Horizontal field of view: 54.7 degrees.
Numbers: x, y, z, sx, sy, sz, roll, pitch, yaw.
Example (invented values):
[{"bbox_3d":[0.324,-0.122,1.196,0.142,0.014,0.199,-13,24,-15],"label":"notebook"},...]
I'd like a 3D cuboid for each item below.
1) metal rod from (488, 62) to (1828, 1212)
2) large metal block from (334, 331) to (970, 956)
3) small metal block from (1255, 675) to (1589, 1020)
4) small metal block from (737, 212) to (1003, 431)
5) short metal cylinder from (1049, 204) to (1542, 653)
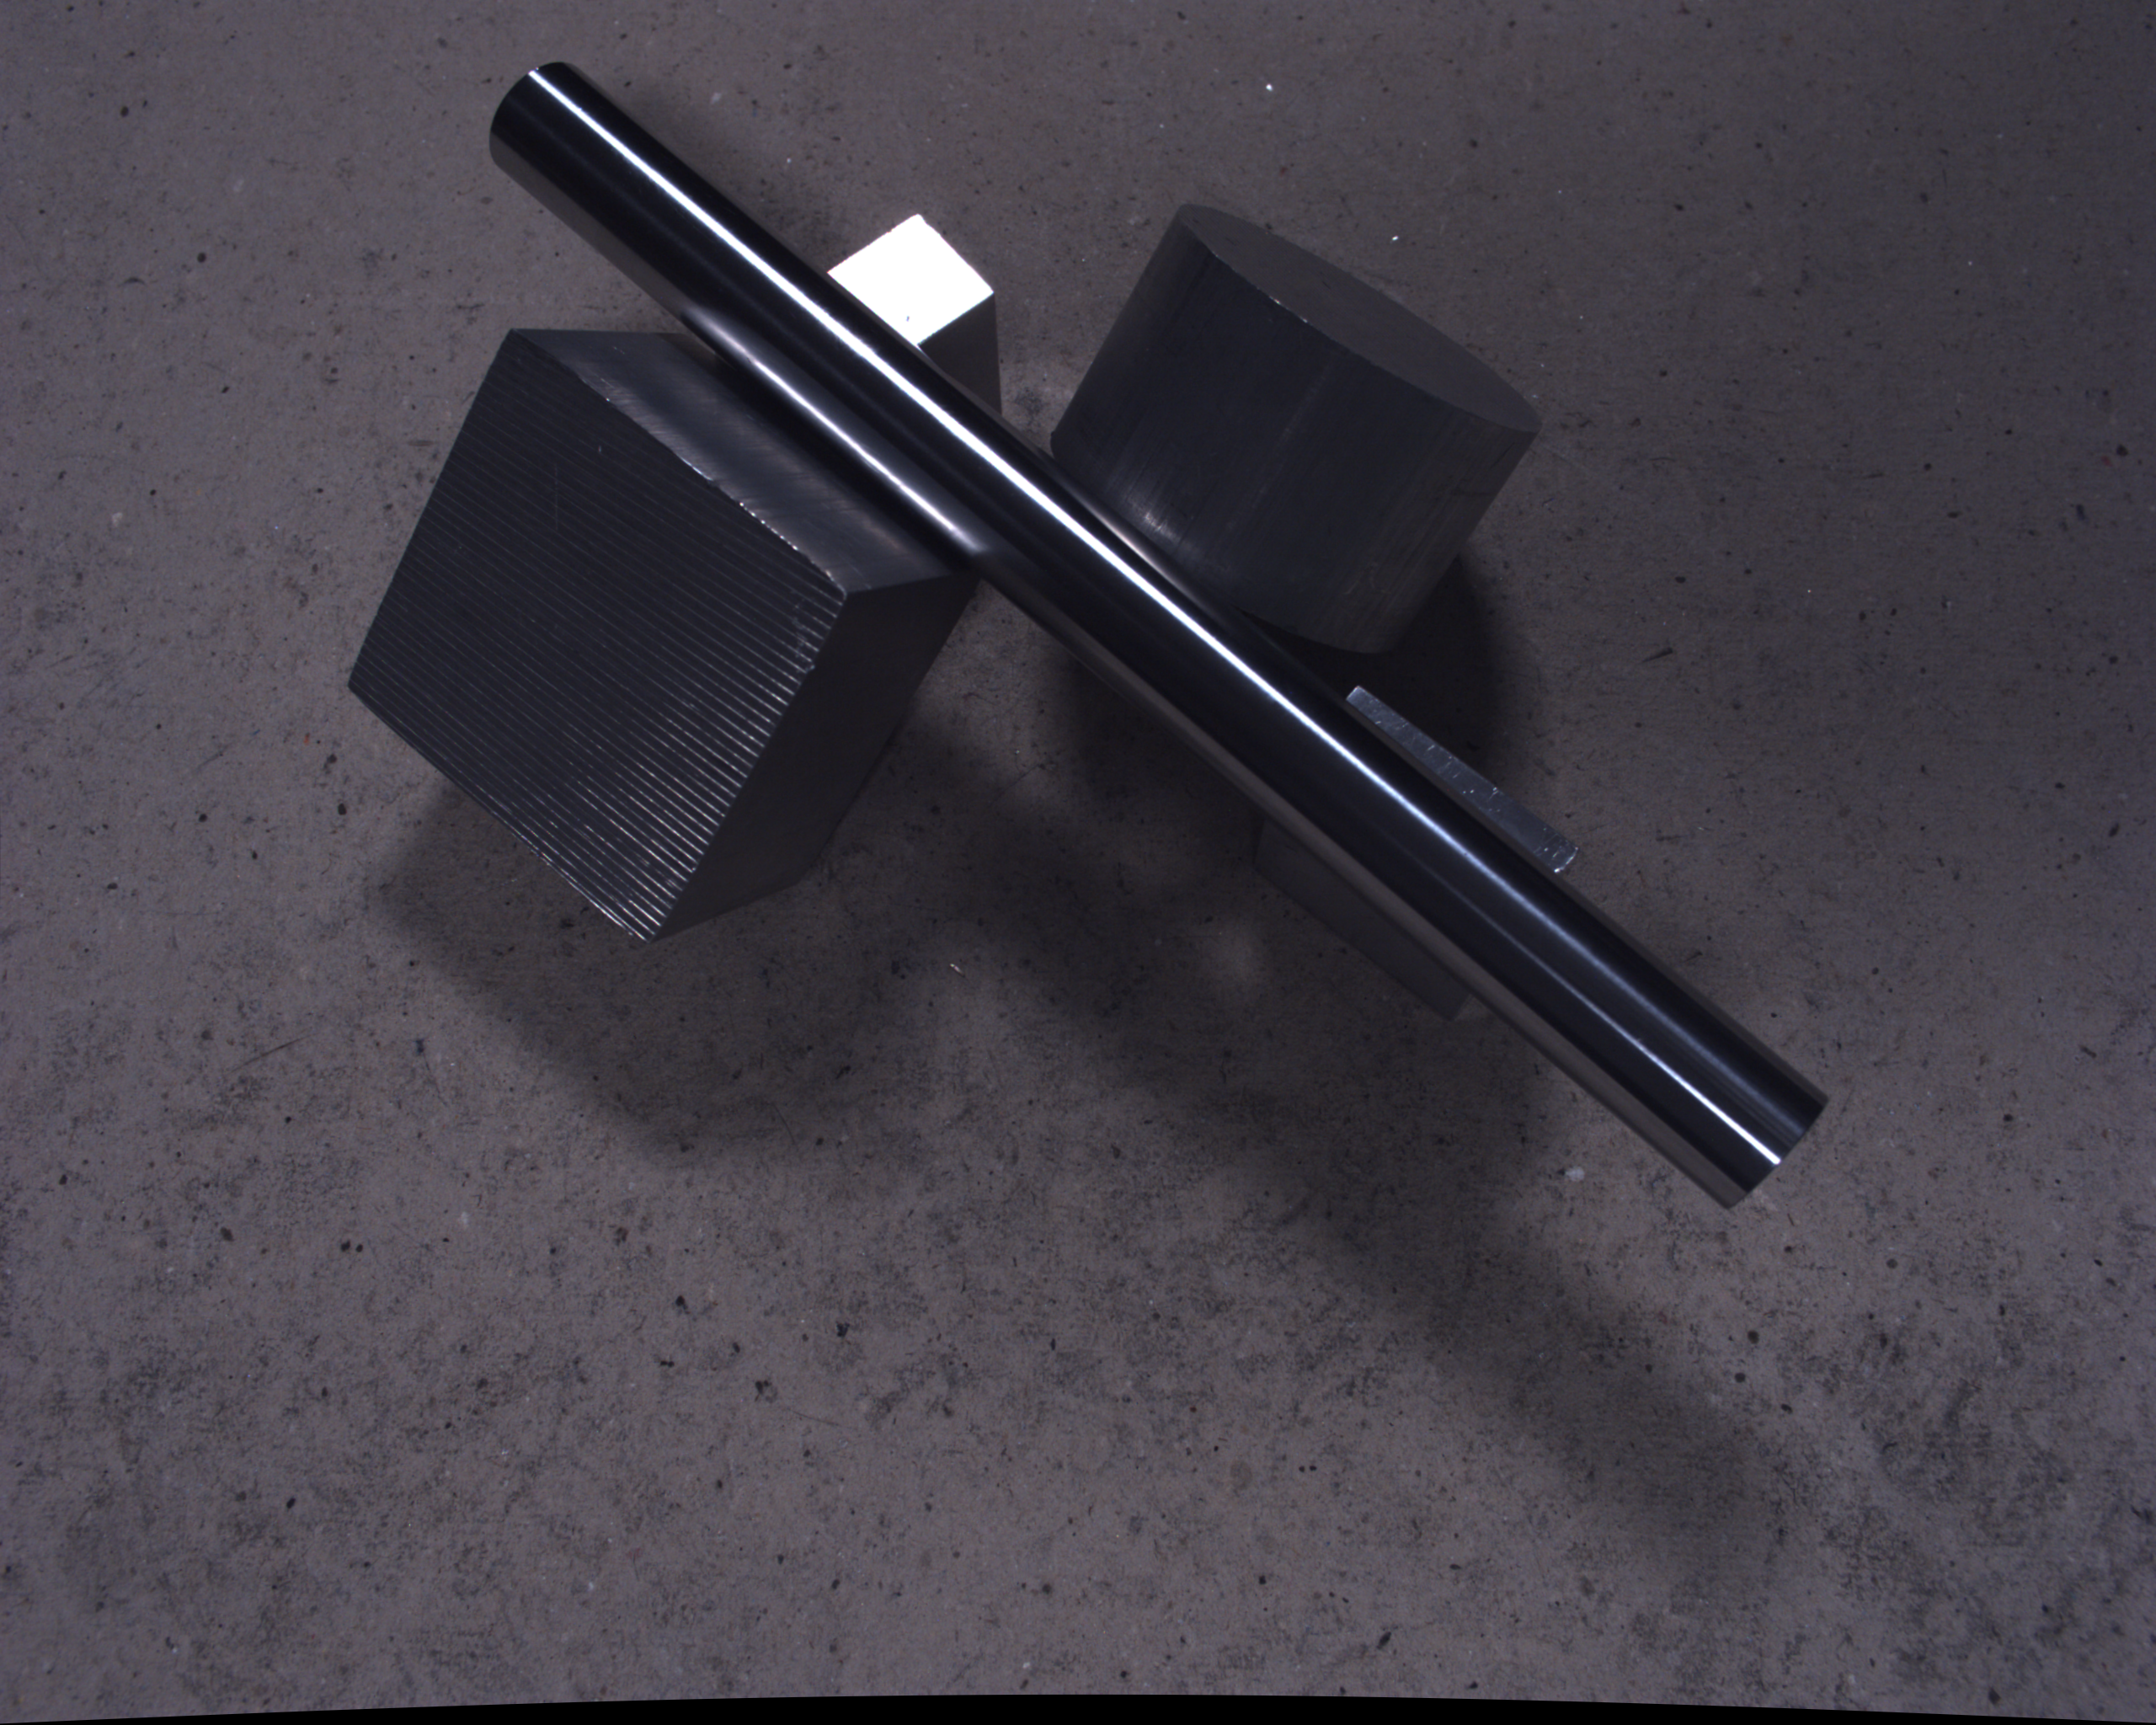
[{"bbox_3d":[0.004,-0.049,0.374,0.300,0.025,0.025,41,75,13],"label":"metal rod"},{"bbox_3d":[-0.080,-0.043,0.392,0.080,0.050,0.080,39,115,12],"label":"large metal block"},{"bbox_3d":[0.063,-0.002,0.394,0.050,0.050,0.025,39,75,12],"label":"small metal block"},{"bbox_3d":[-0.044,-0.098,0.432,0.050,0.050,0.025,-37,75,-13],"label":"small metal block"},{"bbox_3d":[0.042,-0.084,0.405,0.080,0.080,0.050,37,115,12],"label":"short metal cylinder"}]
